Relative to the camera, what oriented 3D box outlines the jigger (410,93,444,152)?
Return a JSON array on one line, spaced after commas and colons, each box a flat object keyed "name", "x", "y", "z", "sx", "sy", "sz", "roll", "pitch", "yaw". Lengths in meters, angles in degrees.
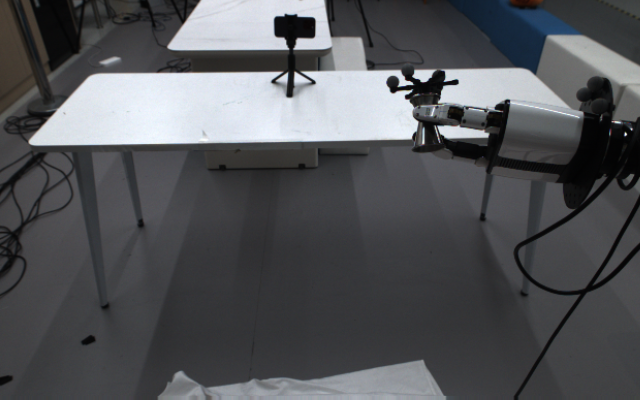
[{"name": "jigger", "x": 0.138, "y": -0.101, "z": 0.630, "sx": 0.043, "sy": 0.071, "sz": 0.043, "roll": -2, "pitch": -7, "yaw": 0}]
